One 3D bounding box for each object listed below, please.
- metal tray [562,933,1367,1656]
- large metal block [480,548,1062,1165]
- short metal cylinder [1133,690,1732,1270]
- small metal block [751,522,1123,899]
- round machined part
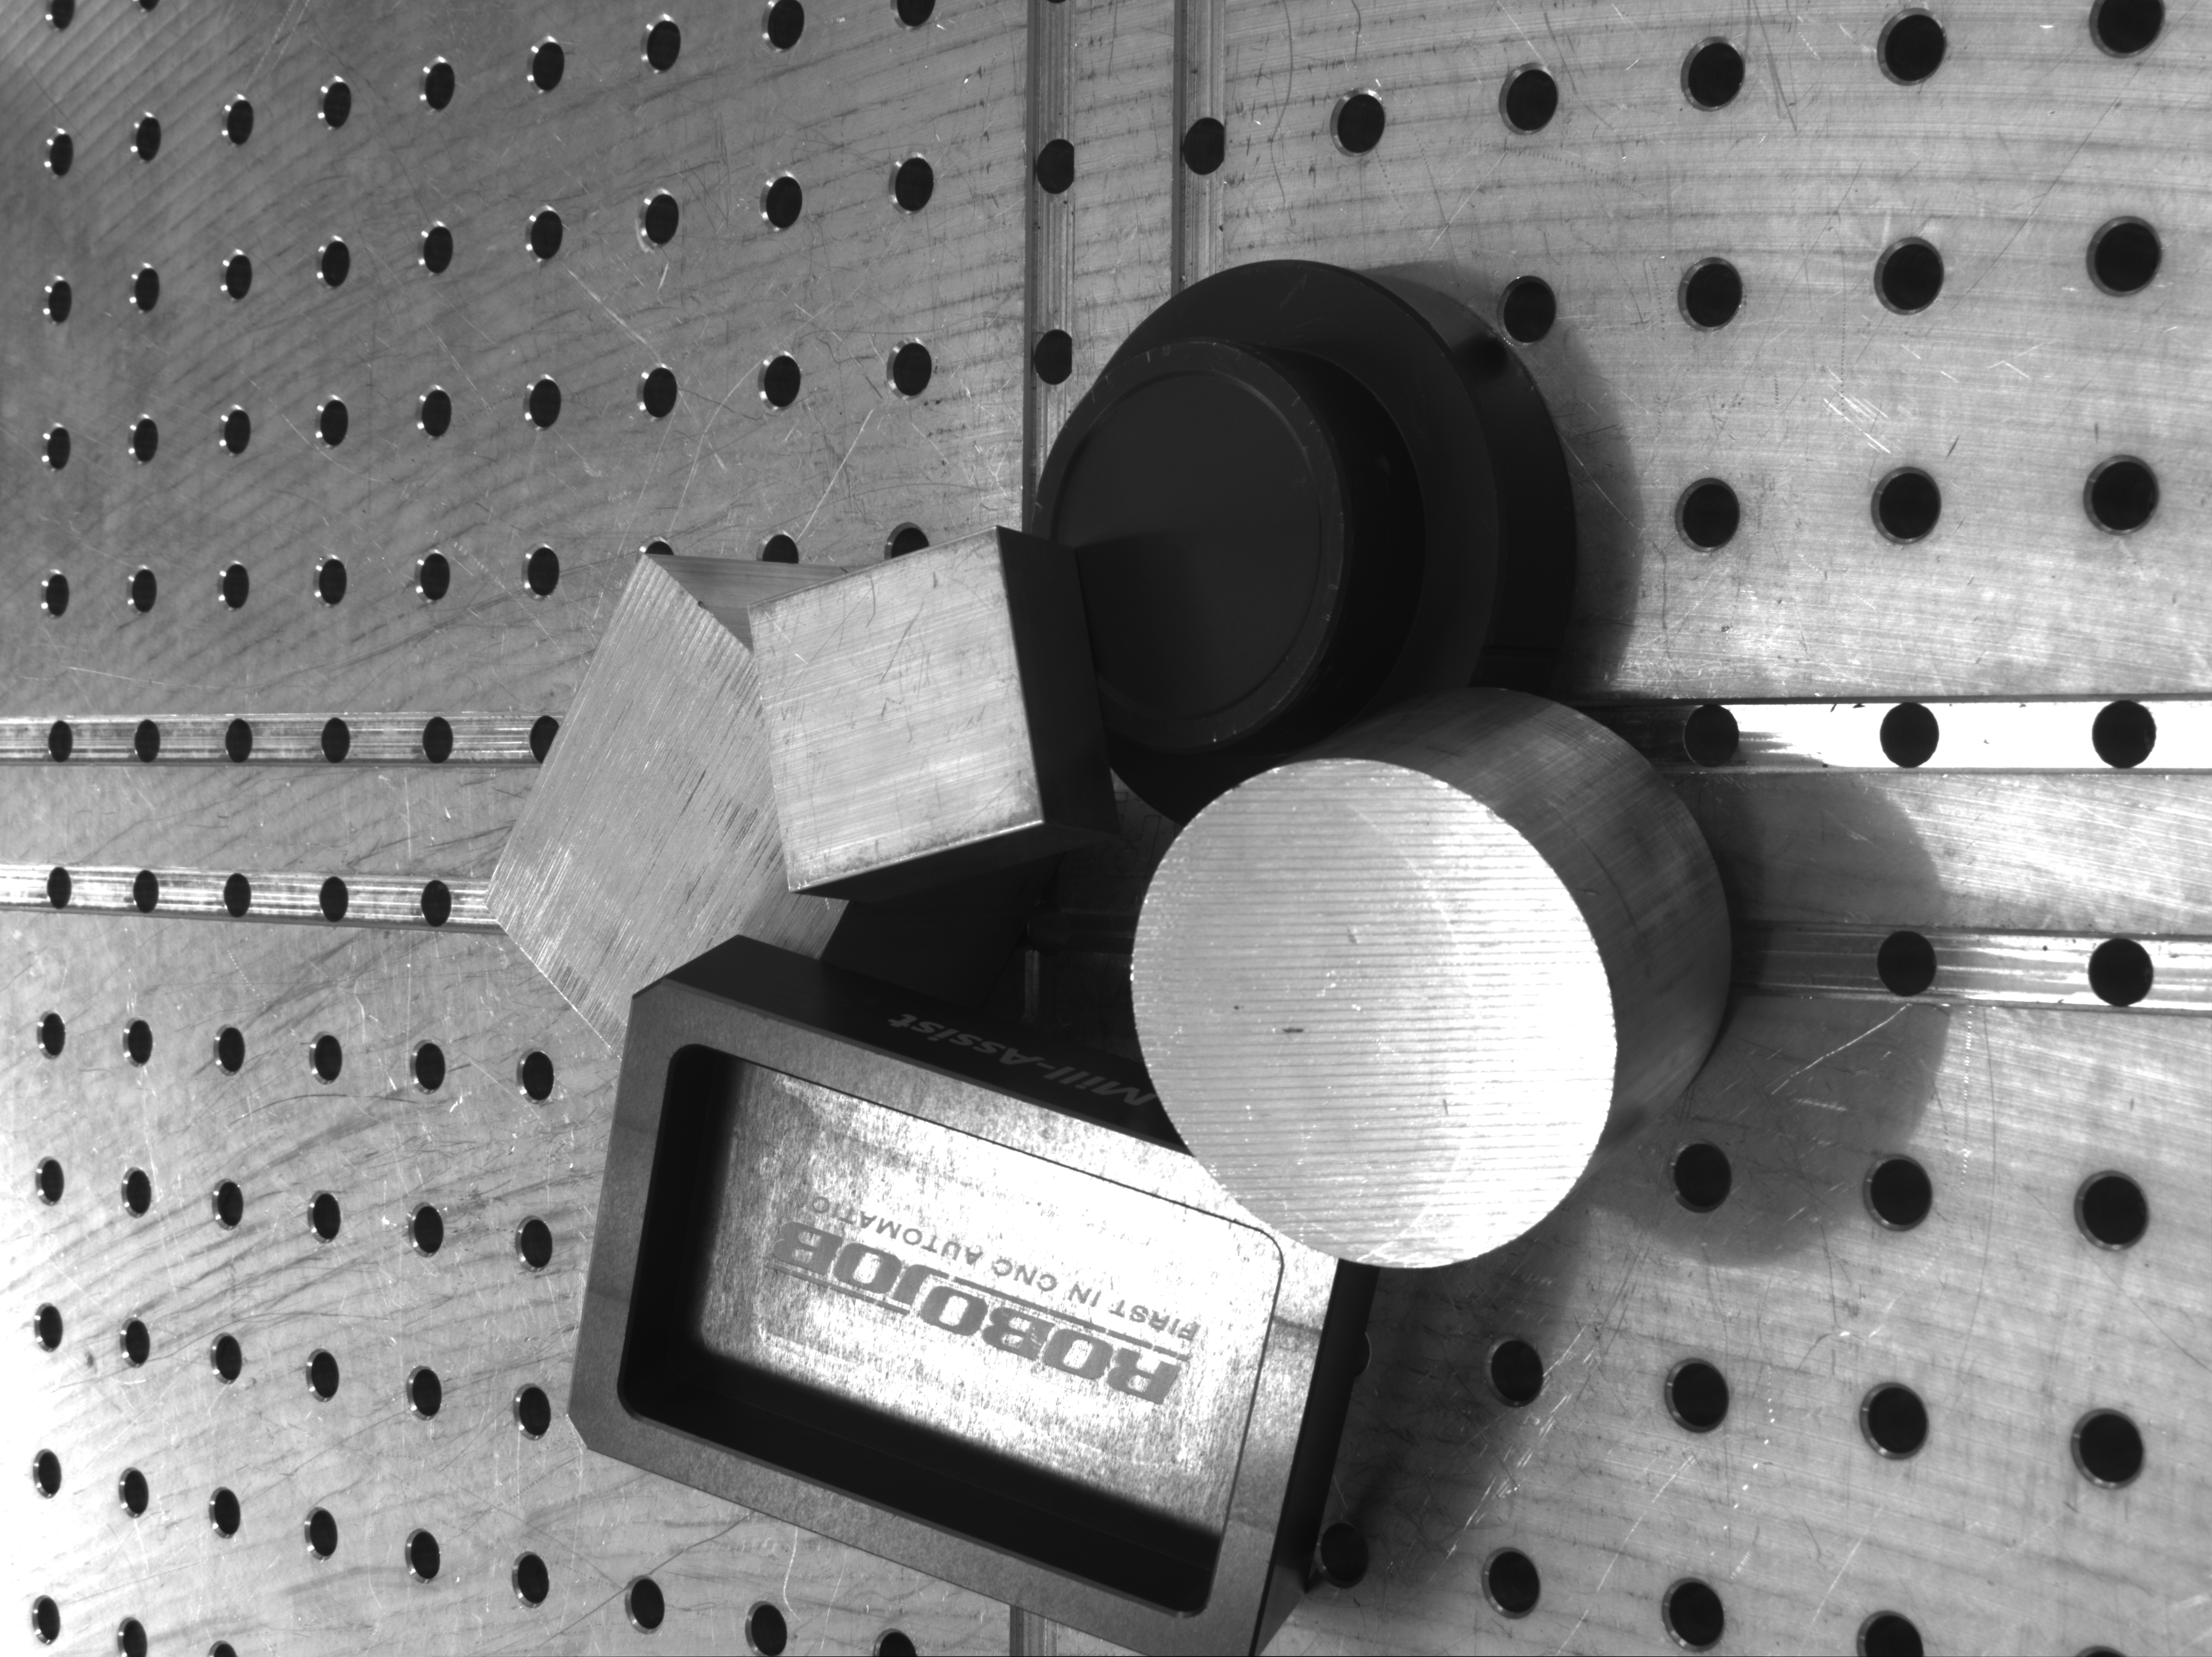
[{"bbox_3d":[-0.024,0.080,0.628,0.130,0.030,0.090,17,109,16],"label":"metal tray"},{"bbox_3d":[-0.061,0.005,0.684,0.080,0.050,0.080,43,116,32],"label":"large metal block"},{"bbox_3d":[0.051,0.023,0.574,0.080,0.050,0.080,8,107,27],"label":"short metal cylinder"},{"bbox_3d":[-0.029,-0.018,0.612,0.050,0.025,0.050,-15,77,28],"label":"small metal block"},{"bbox_3d":[0.026,-0.046,0.615,0.098,0.042,0.098,0,90,40],"label":"round machined part"}]
